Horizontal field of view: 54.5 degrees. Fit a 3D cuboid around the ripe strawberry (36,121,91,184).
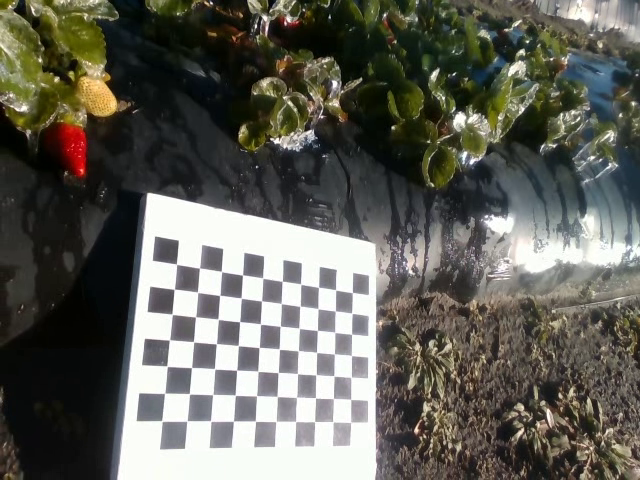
[{"bbox_3d":[-0.217,-0.081,0.549,0.042,0.052,0.040,-9,-14,-39],"label":"ripe strawberry"}]
